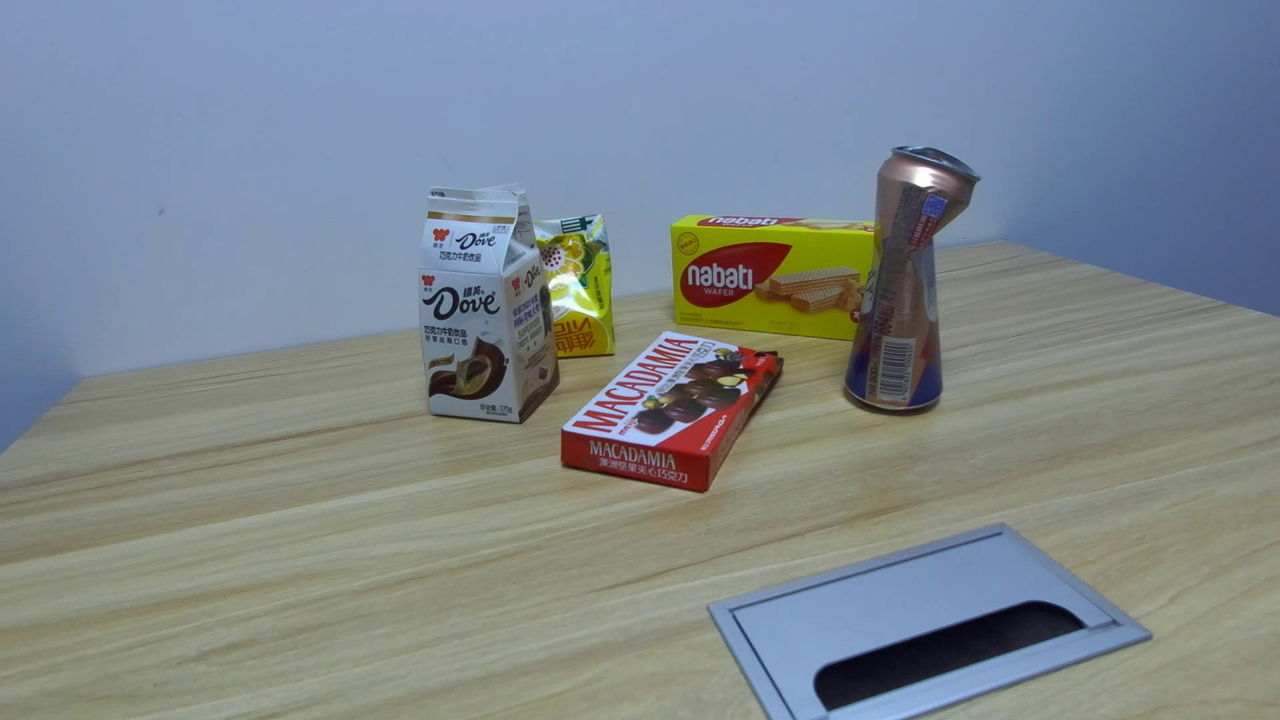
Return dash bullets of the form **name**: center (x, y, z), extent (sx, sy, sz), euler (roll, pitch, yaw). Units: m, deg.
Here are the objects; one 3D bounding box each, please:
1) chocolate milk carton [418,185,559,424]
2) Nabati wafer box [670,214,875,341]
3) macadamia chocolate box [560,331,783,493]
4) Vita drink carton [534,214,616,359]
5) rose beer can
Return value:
- **chocolate milk carton**: center (-0.111, -0.043, 0.493), extent (0.084, 0.155, 0.073), euler (4, 25, 18)
- **Nabati wafer box**: center (0.127, -0.069, 0.603), extent (0.202, 0.093, 0.042), euler (7, 23, 21)
- **macadamia chocolate box**: center (0.032, 0.024, 0.479), extent (0.102, 0.027, 0.187), euler (9, 25, 21)
- **Vita drink carton**: center (-0.058, -0.059, 0.581), extent (0.071, 0.110, 0.046), euler (-5, 19, 2)
- **rose beer can**: center (0.174, -0.049, 0.458), extent (0.070, 0.168, 0.069), euler (-6, 22, -22)
